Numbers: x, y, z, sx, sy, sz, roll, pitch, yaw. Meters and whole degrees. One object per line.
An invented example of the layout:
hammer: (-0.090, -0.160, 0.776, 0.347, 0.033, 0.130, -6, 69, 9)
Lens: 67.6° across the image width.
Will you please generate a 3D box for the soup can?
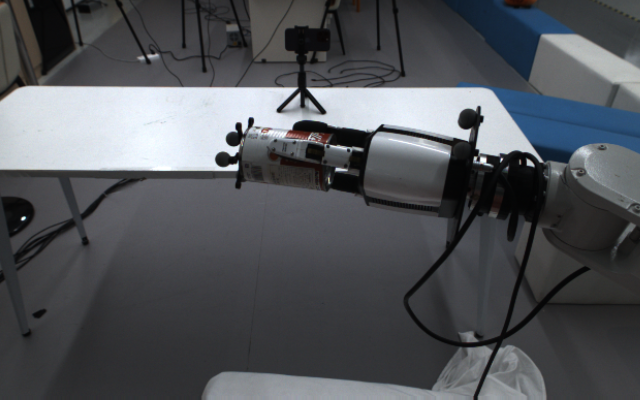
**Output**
soup can: (-0.034, -0.051, 0.569, 0.101, 0.067, 0.067, 6, 35, 10)
